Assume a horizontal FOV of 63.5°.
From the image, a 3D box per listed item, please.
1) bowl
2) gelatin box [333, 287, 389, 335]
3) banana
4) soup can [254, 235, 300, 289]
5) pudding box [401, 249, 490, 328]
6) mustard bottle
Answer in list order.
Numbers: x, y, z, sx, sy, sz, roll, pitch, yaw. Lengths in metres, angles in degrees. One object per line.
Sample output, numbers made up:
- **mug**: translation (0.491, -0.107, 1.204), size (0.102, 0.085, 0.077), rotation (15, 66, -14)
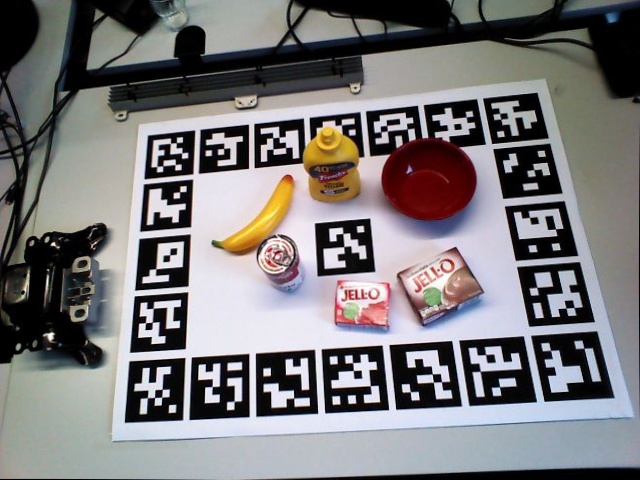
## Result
- **bowl**: translation (0.204, -0.097, 0.913), size (0.162, 0.055, 0.161), rotation (-3, 67, 8)
- **gelatin box**: translation (0.068, 0.117, 0.856), size (0.090, 0.030, 0.073), rotation (2, 72, 9)
- **banana**: translation (-0.110, -0.050, 0.944), size (0.074, 0.039, 0.196), rotation (35, 76, 29)
- **soup can**: translation (-0.071, 0.034, 0.859), size (0.068, 0.102, 0.067), rotation (-2, 66, 5)
- **pudding box**: translation (0.203, 0.080, 0.847), size (0.114, 0.039, 0.090), rotation (-26, 73, -3)
- **mustard bottle**: translation (0.025, -0.132, 0.863), size (0.096, 0.192, 0.058), rotation (-4, 65, 6)
